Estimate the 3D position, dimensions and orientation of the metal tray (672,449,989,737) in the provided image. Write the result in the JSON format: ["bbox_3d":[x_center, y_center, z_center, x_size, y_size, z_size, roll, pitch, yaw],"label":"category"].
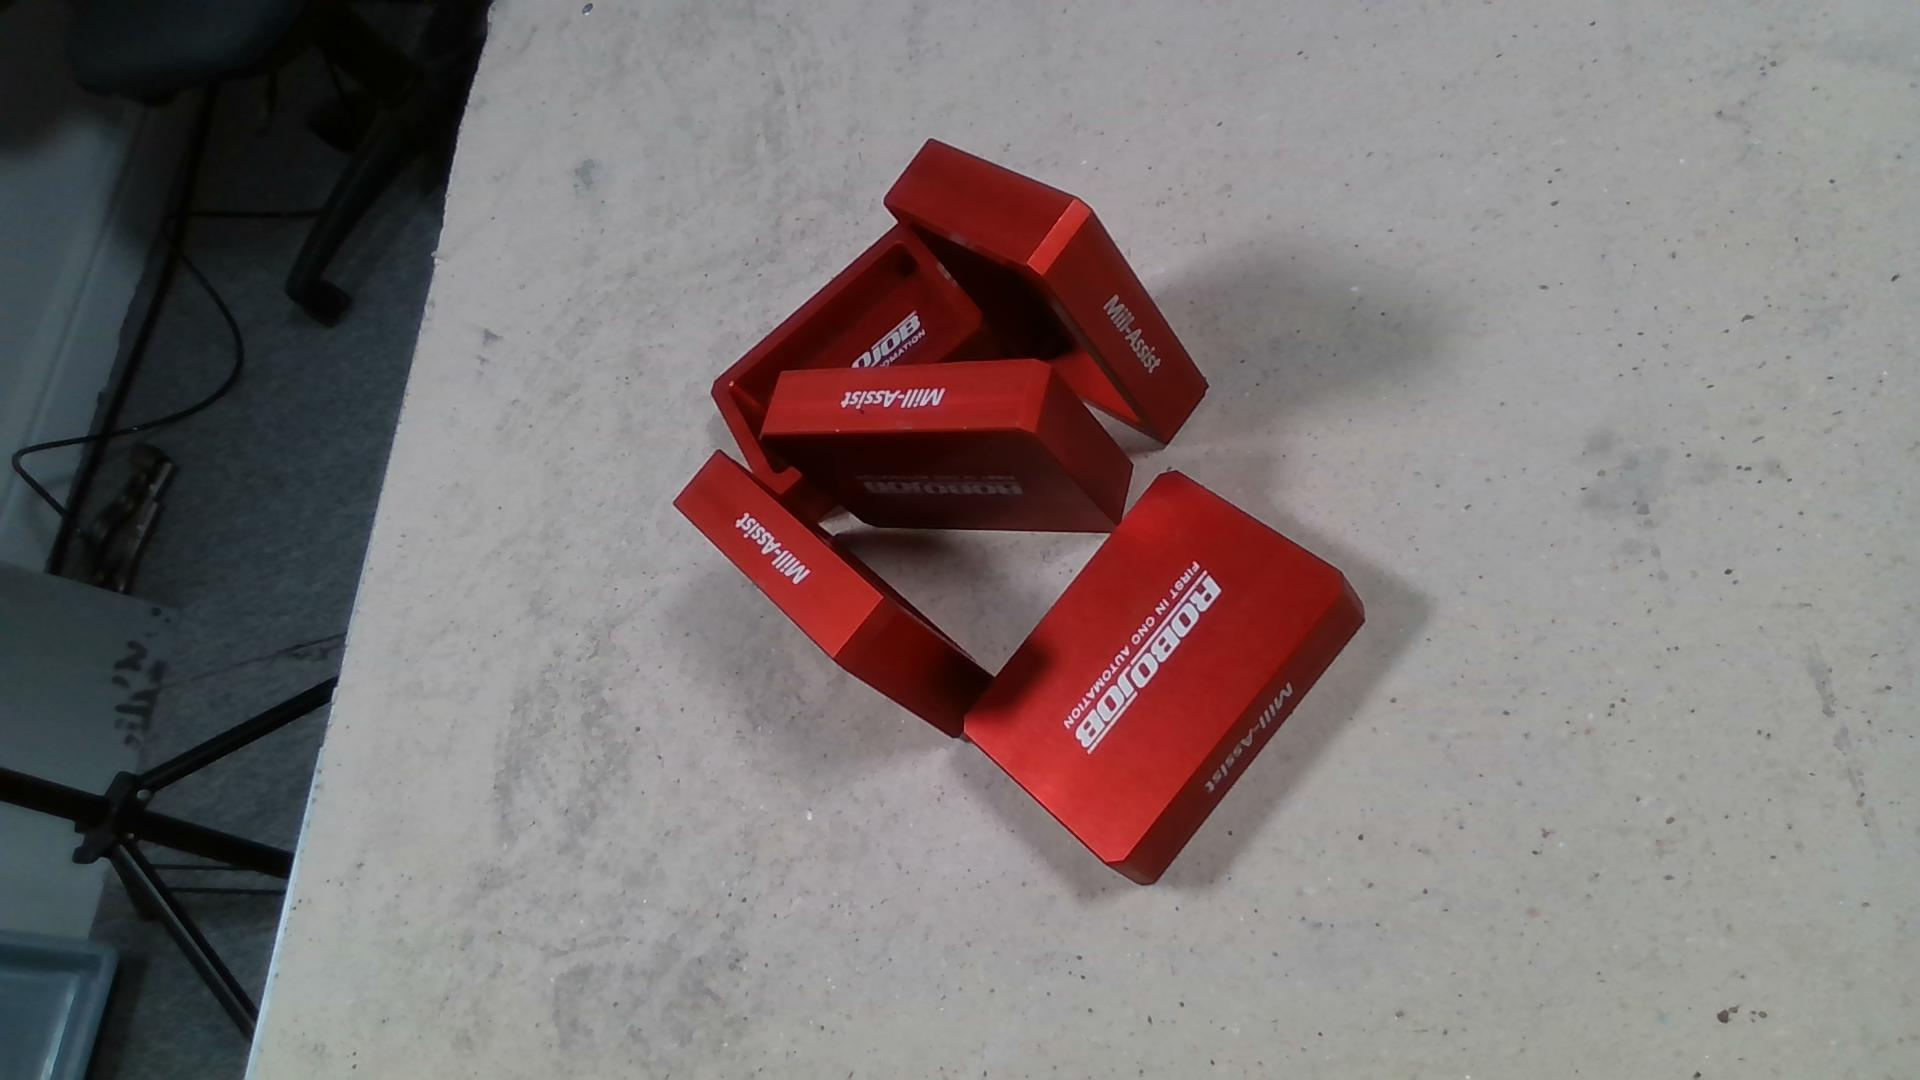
[{"bbox_3d":[-0.052,0.021,0.564,0.030,0.090,0.130,-51,51,-1],"label":"metal tray"}]

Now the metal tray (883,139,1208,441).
[{"bbox_3d":[0.036,-0.097,0.547,0.090,0.130,0.030,34,86,39],"label":"metal tray"}]

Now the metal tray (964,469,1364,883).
[{"bbox_3d":[0.073,0.048,0.512,0.130,0.030,0.090,-51,51,-2],"label":"metal tray"}]

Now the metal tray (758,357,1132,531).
[{"bbox_3d":[-0.006,-0.037,0.566,0.130,0.090,0.030,2,67,32],"label":"metal tray"}]

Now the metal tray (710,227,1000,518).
[{"bbox_3d":[-0.050,-0.081,0.656,0.130,0.030,0.090,-39,52,8],"label":"metal tray"}]
